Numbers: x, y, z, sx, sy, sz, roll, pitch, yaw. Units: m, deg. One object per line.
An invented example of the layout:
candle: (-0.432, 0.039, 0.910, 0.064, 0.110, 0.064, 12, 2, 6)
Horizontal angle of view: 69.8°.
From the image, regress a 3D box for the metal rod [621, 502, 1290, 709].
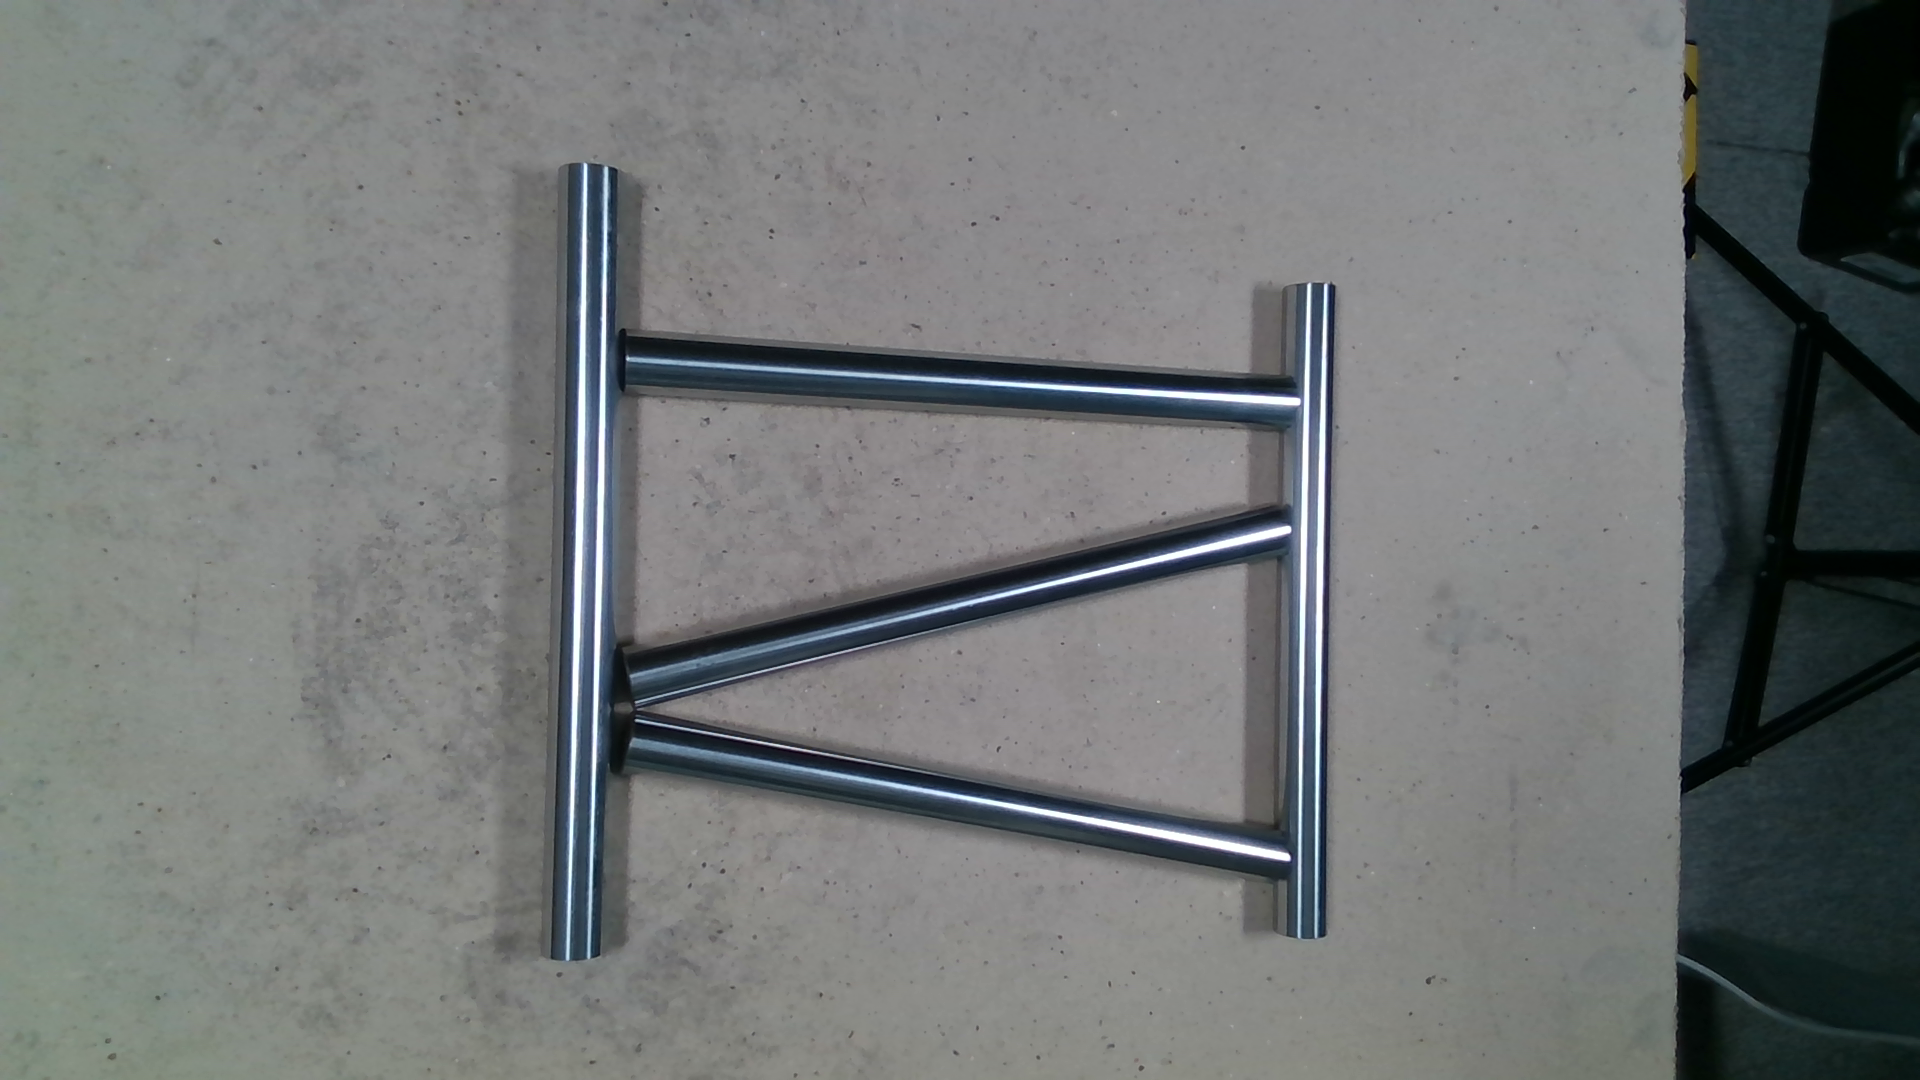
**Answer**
metal rod: (0.008, 0.024, 0.588, 0.300, 0.025, 0.025, -12, 94, -20)

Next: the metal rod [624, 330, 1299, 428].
metal rod: (0.010, -0.067, 0.588, 0.300, 0.025, 0.025, 1, 90, -20)

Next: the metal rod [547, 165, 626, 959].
metal rod: (-0.144, 0.008, 0.532, 0.025, 0.025, 0.300, 1, 90, -20)

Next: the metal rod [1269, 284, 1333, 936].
metal rod: (0.160, 0.032, 0.645, 0.025, 0.025, 0.300, 1, 90, -20)

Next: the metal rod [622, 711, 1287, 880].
metal rod: (0.007, 0.112, 0.588, 0.300, 0.025, 0.025, 14, 85, -20)
